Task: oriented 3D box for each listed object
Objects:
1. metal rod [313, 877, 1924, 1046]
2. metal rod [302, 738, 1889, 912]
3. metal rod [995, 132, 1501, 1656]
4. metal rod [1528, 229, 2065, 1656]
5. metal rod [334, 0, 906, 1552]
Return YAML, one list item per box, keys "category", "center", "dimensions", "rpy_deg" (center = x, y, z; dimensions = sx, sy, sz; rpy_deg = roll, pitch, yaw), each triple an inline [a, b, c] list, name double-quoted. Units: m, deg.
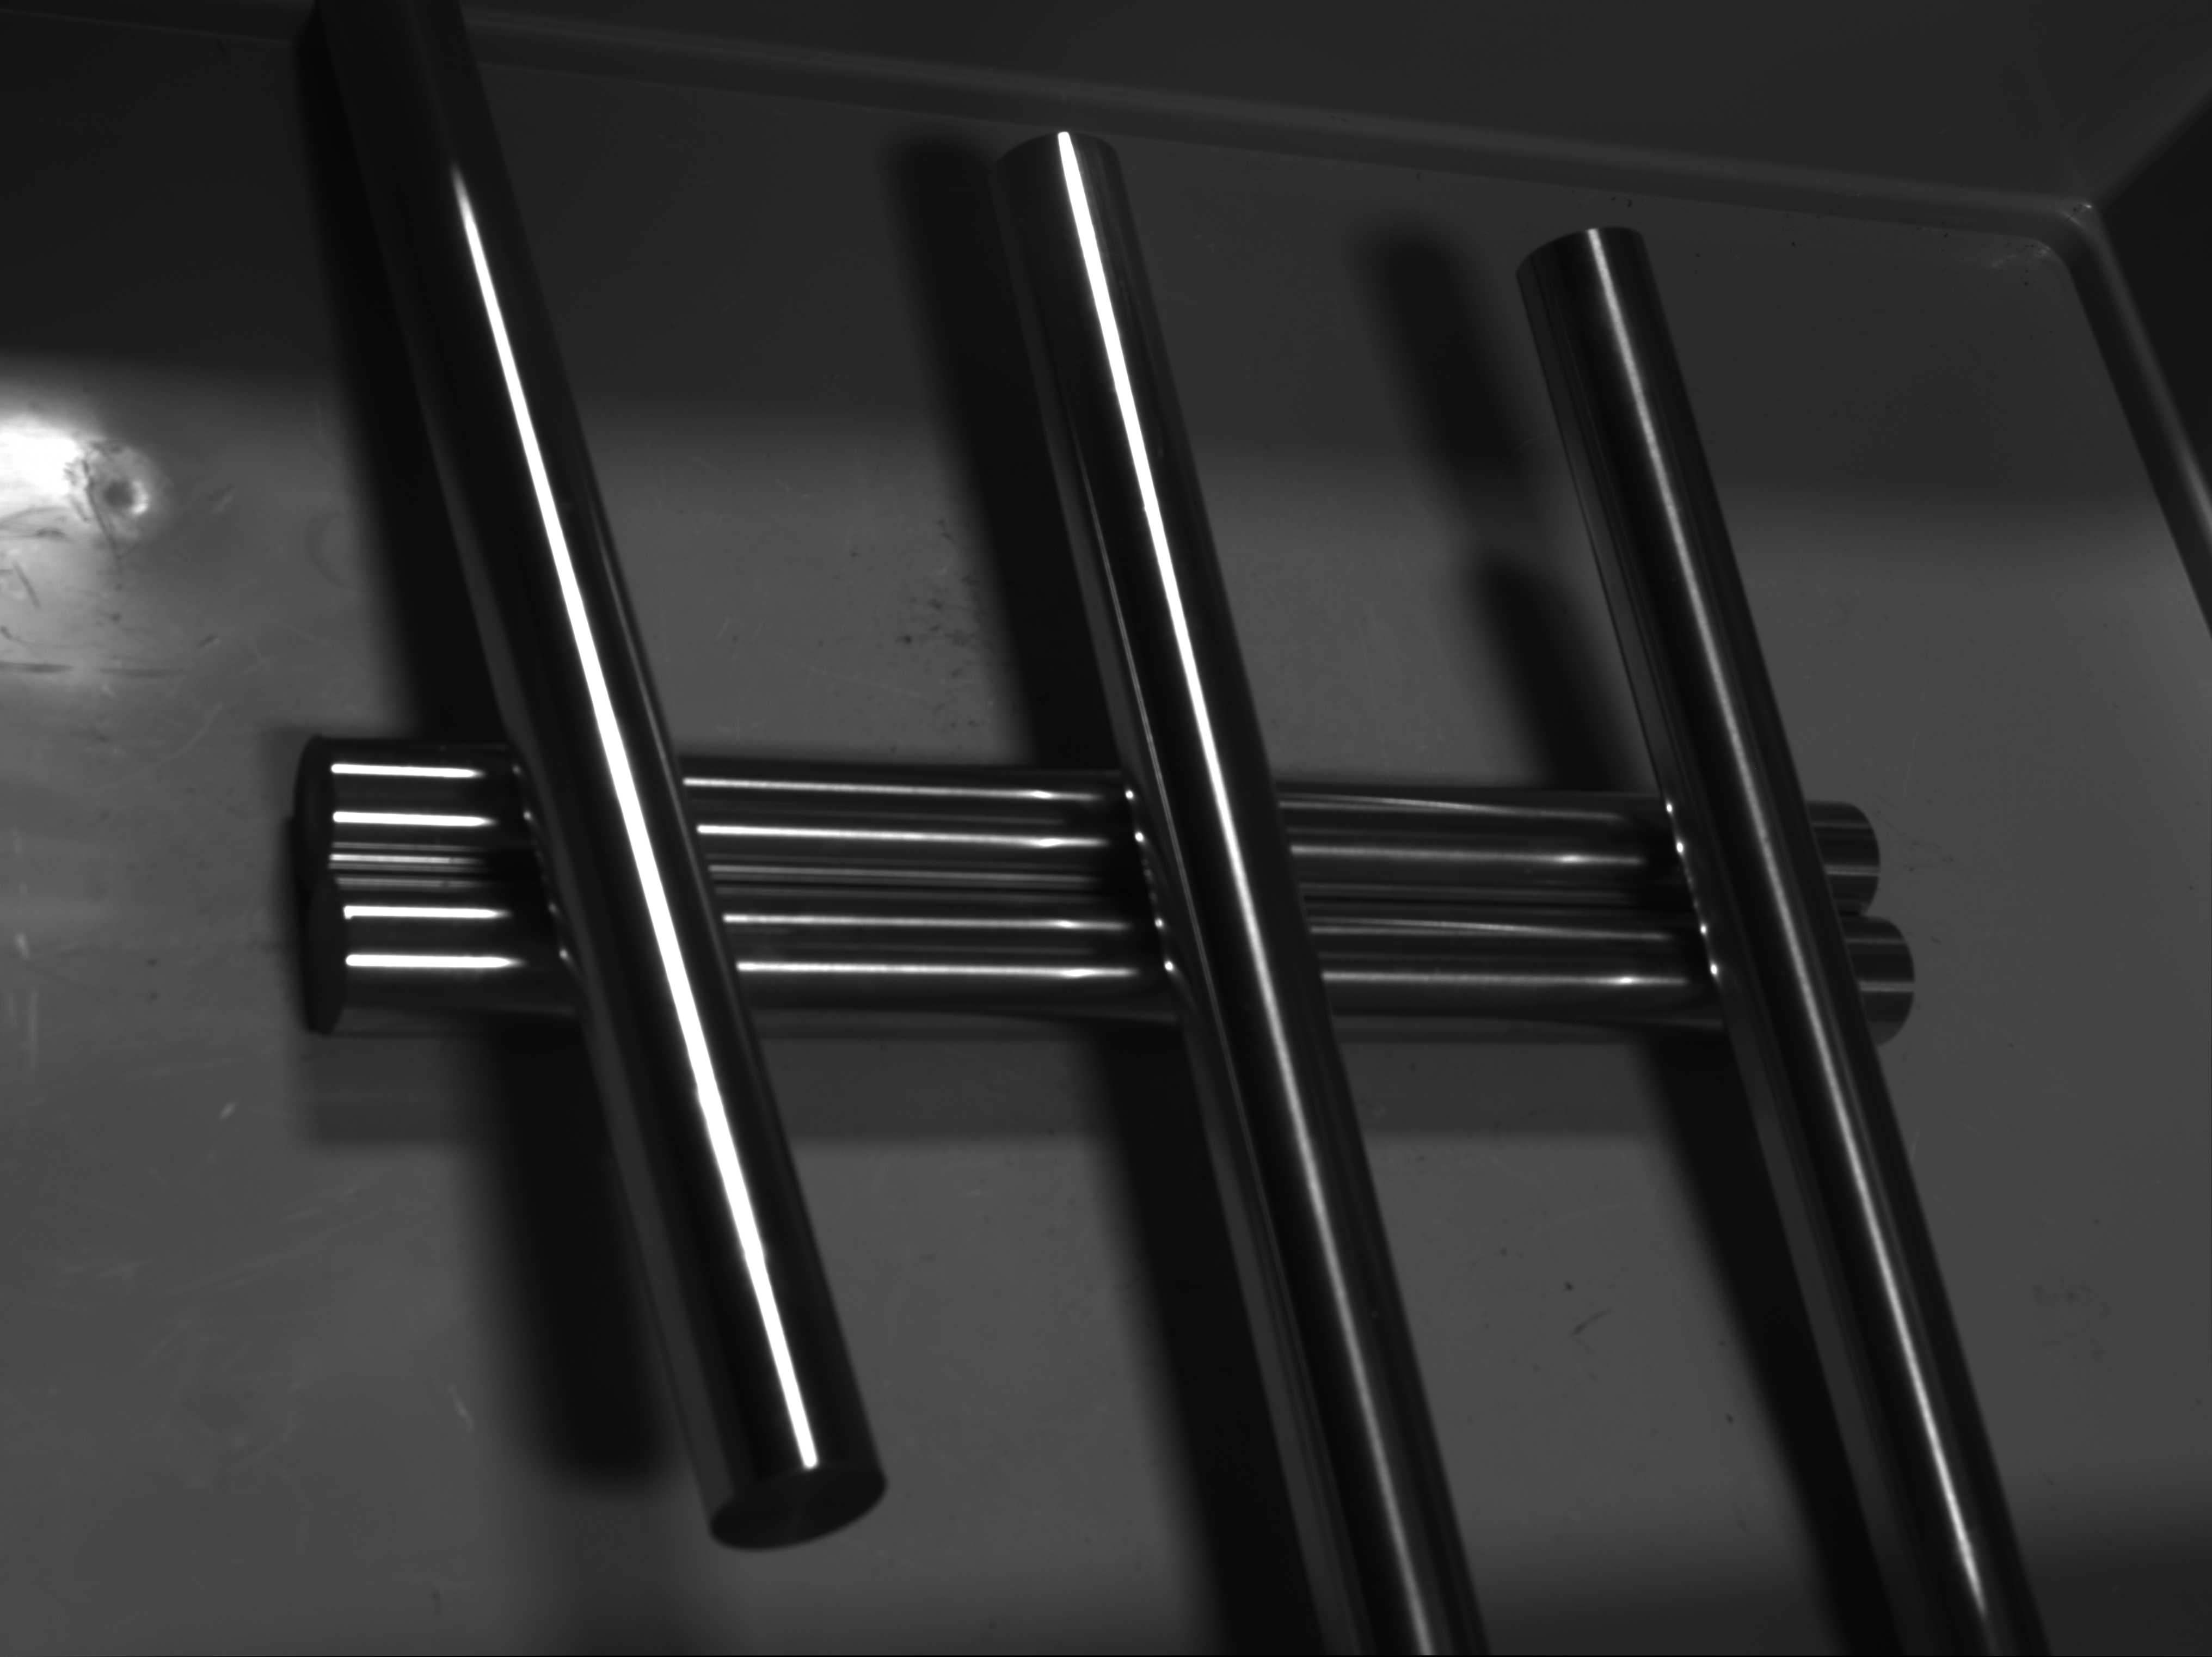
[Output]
- category: "metal rod"
  center: [0.015, 0.025, 0.632]
  dimensions: [0.301, 0.025, 0.025]
  rpy_deg: [2, 61, -27]
- category: "metal rod"
  center: [0.011, 0.003, 0.643]
  dimensions: [0.301, 0.025, 0.025]
  rpy_deg: [2, 61, -27]
- category: "metal rod"
  center: [0.022, 0.011, 0.611]
  dimensions: [0.025, 0.025, 0.300]
  rpy_deg: [2, 61, -27]
- category: "metal rod"
  center: [0.125, 0.032, 0.657]
  dimensions: [0.025, 0.025, 0.300]
  rpy_deg: [-4, 72, -30]
- category: "metal rod"
  center: [-0.083, -0.027, 0.580]
  dimensions: [0.025, 0.025, 0.300]
  rpy_deg: [-1, 54, -28]
